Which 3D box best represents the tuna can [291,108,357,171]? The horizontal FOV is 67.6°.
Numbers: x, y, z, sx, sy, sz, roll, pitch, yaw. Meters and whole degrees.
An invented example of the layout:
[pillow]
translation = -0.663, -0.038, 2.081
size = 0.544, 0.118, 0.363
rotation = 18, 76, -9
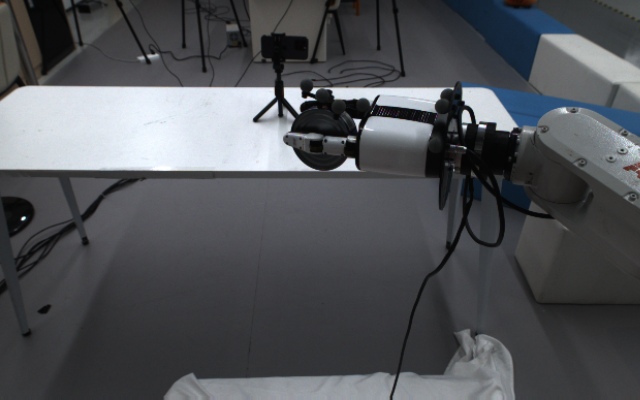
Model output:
[tuna can]
translation = 0.007, -0.086, 0.647
size = 0.085, 0.085, 0.034
rotation = 16, 29, 19
